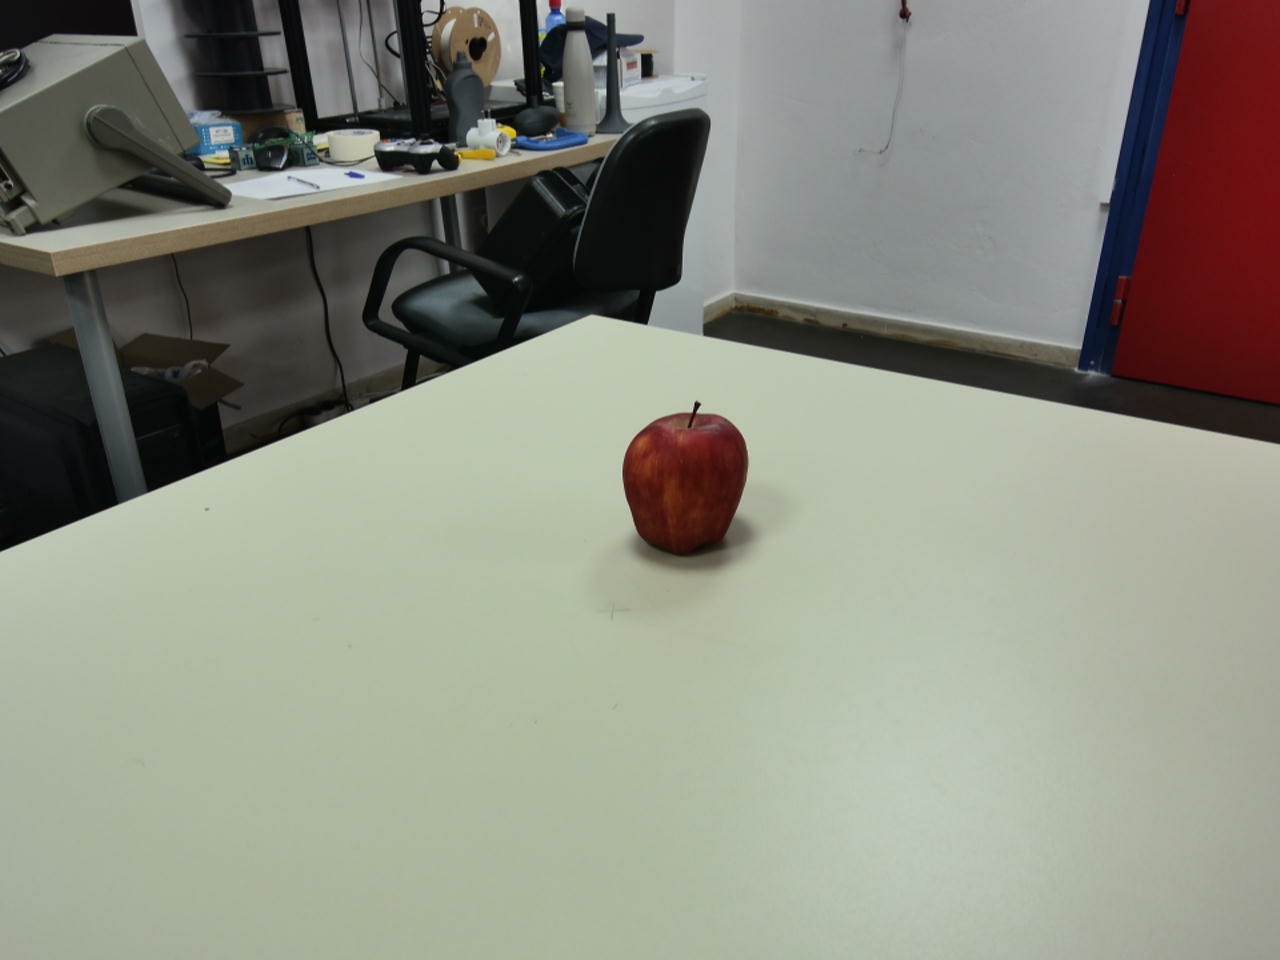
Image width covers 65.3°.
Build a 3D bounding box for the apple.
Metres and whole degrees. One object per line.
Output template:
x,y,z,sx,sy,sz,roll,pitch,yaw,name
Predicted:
0.028,-0.006,0.610,0.083,0.090,0.083,-1,25,0,apple
